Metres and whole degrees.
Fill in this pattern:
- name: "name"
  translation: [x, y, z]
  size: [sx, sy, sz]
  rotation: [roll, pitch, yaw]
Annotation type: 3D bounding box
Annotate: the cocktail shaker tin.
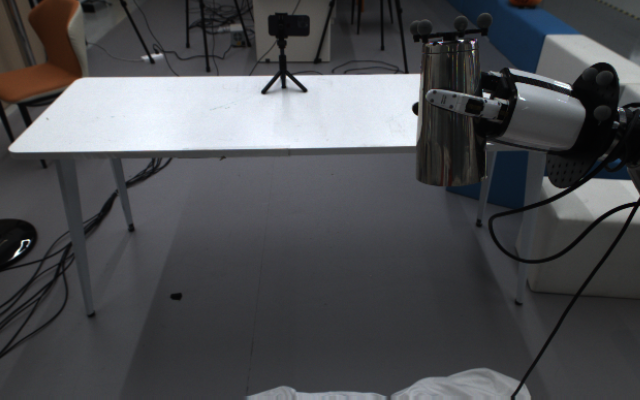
- name: "cocktail shaker tin"
  translation: [0.166, -0.113, 0.612]
  size: [0.093, 0.170, 0.093]
  rotation: [-6, 19, 2]
